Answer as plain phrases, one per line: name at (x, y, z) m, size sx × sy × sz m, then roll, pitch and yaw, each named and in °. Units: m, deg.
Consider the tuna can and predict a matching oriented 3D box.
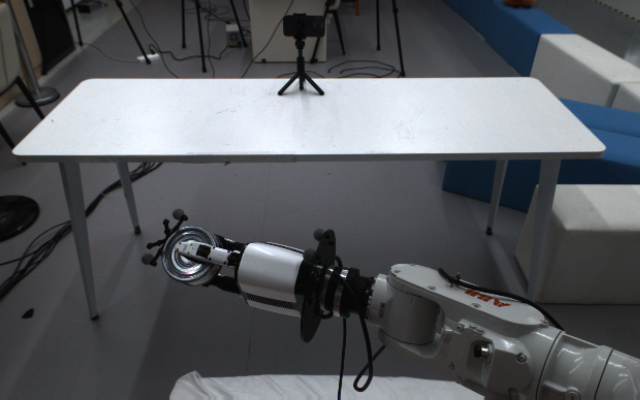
tuna can at (-0.185, 0.083, 0.713) m, size 0.085 × 0.034 × 0.085 m, roll -2°, pitch 73°, yaw 6°
